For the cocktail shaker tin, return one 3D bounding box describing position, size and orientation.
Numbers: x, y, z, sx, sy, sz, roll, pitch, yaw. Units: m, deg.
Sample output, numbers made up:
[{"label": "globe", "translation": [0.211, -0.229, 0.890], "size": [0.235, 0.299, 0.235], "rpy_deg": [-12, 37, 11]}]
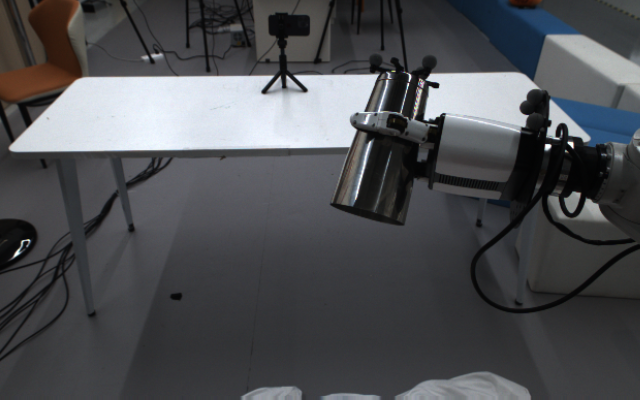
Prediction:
[{"label": "cocktail shaker tin", "translation": [0.079, -0.064, 0.587], "size": [0.093, 0.170, 0.093], "rpy_deg": [16, -6, 2]}]
